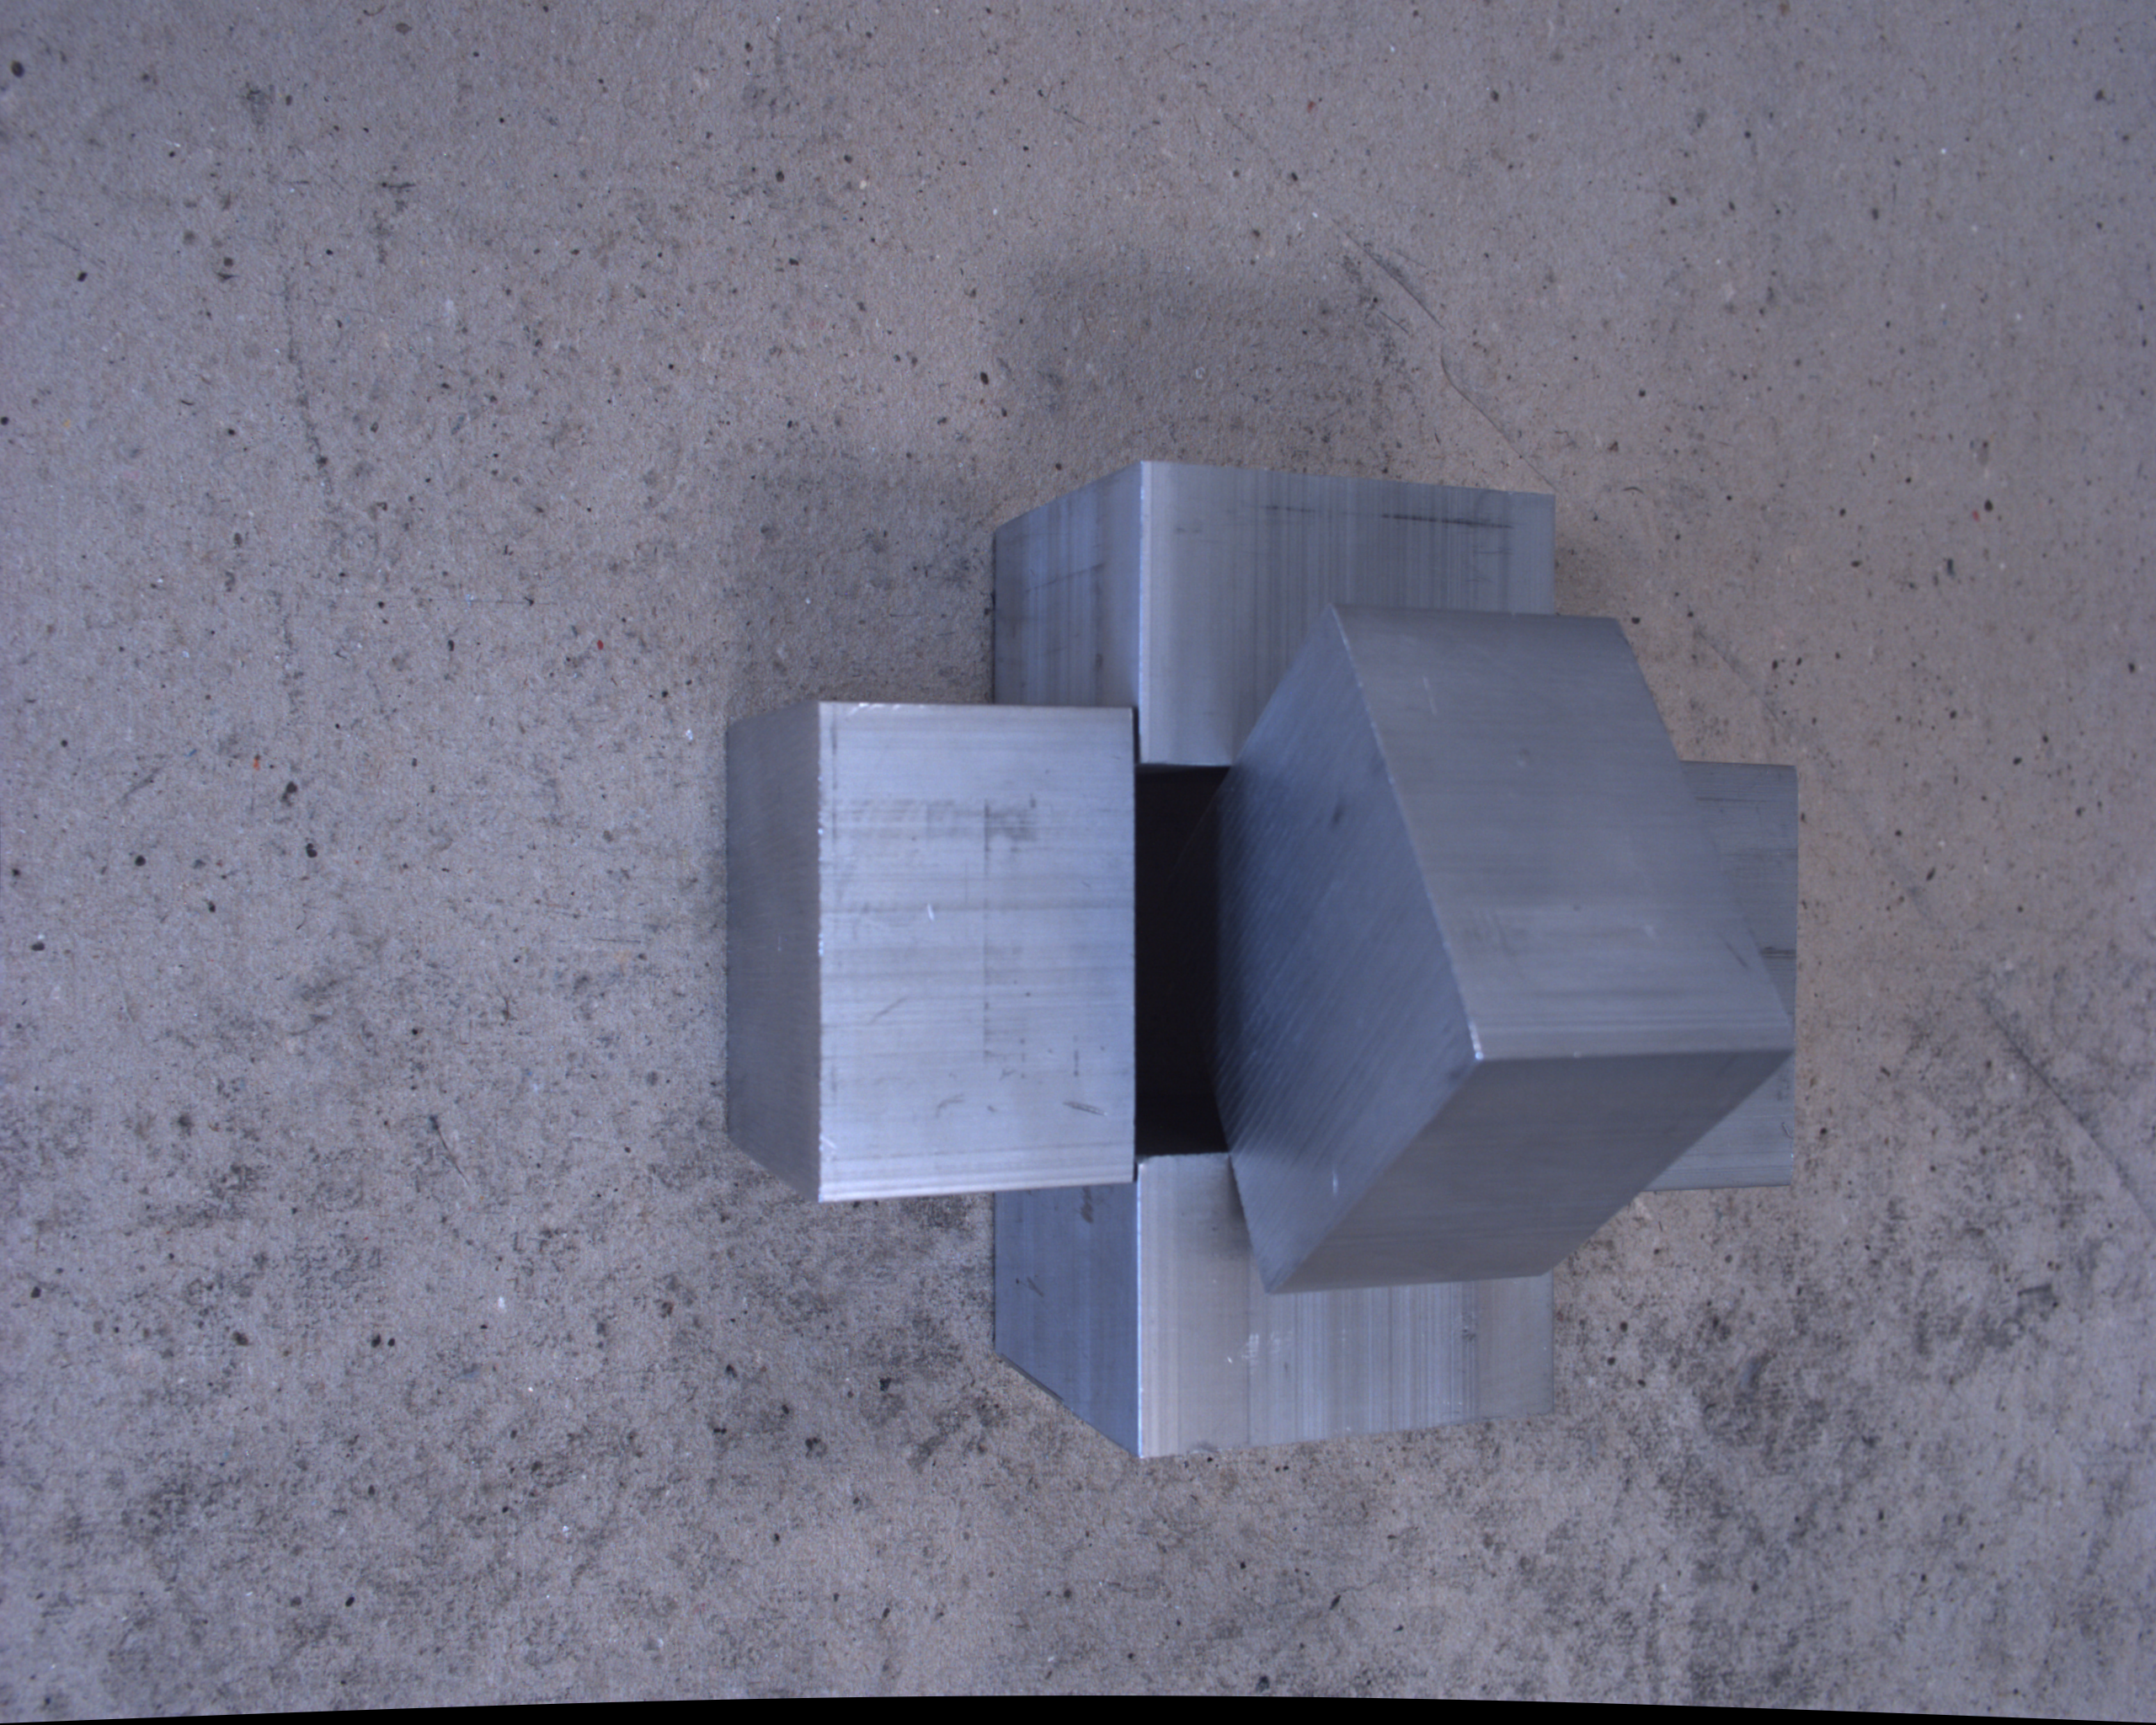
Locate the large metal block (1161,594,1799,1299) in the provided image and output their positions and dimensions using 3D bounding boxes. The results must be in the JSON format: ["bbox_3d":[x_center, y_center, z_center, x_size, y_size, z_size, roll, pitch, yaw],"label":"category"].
[{"bbox_3d":[0.058,0.015,0.333,0.050,0.080,0.080,1,56,-20],"label":"large metal block"}]

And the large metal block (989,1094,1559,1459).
[{"bbox_3d":[0.034,0.073,0.394,0.081,0.080,0.050,0,90,-20],"label":"large metal block"}]

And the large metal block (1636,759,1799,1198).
[{"bbox_3d":[0.096,0.021,0.416,0.050,0.080,0.080,1,90,-20],"label":"large metal block"}]

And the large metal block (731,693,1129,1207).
[{"bbox_3d":[-0.029,0.013,0.369,0.050,0.080,0.080,0,90,-20],"label":"large metal block"}]

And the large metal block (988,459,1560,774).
[{"bbox_3d":[0.034,-0.041,0.394,0.081,0.080,0.050,1,90,-20],"label":"large metal block"}]
